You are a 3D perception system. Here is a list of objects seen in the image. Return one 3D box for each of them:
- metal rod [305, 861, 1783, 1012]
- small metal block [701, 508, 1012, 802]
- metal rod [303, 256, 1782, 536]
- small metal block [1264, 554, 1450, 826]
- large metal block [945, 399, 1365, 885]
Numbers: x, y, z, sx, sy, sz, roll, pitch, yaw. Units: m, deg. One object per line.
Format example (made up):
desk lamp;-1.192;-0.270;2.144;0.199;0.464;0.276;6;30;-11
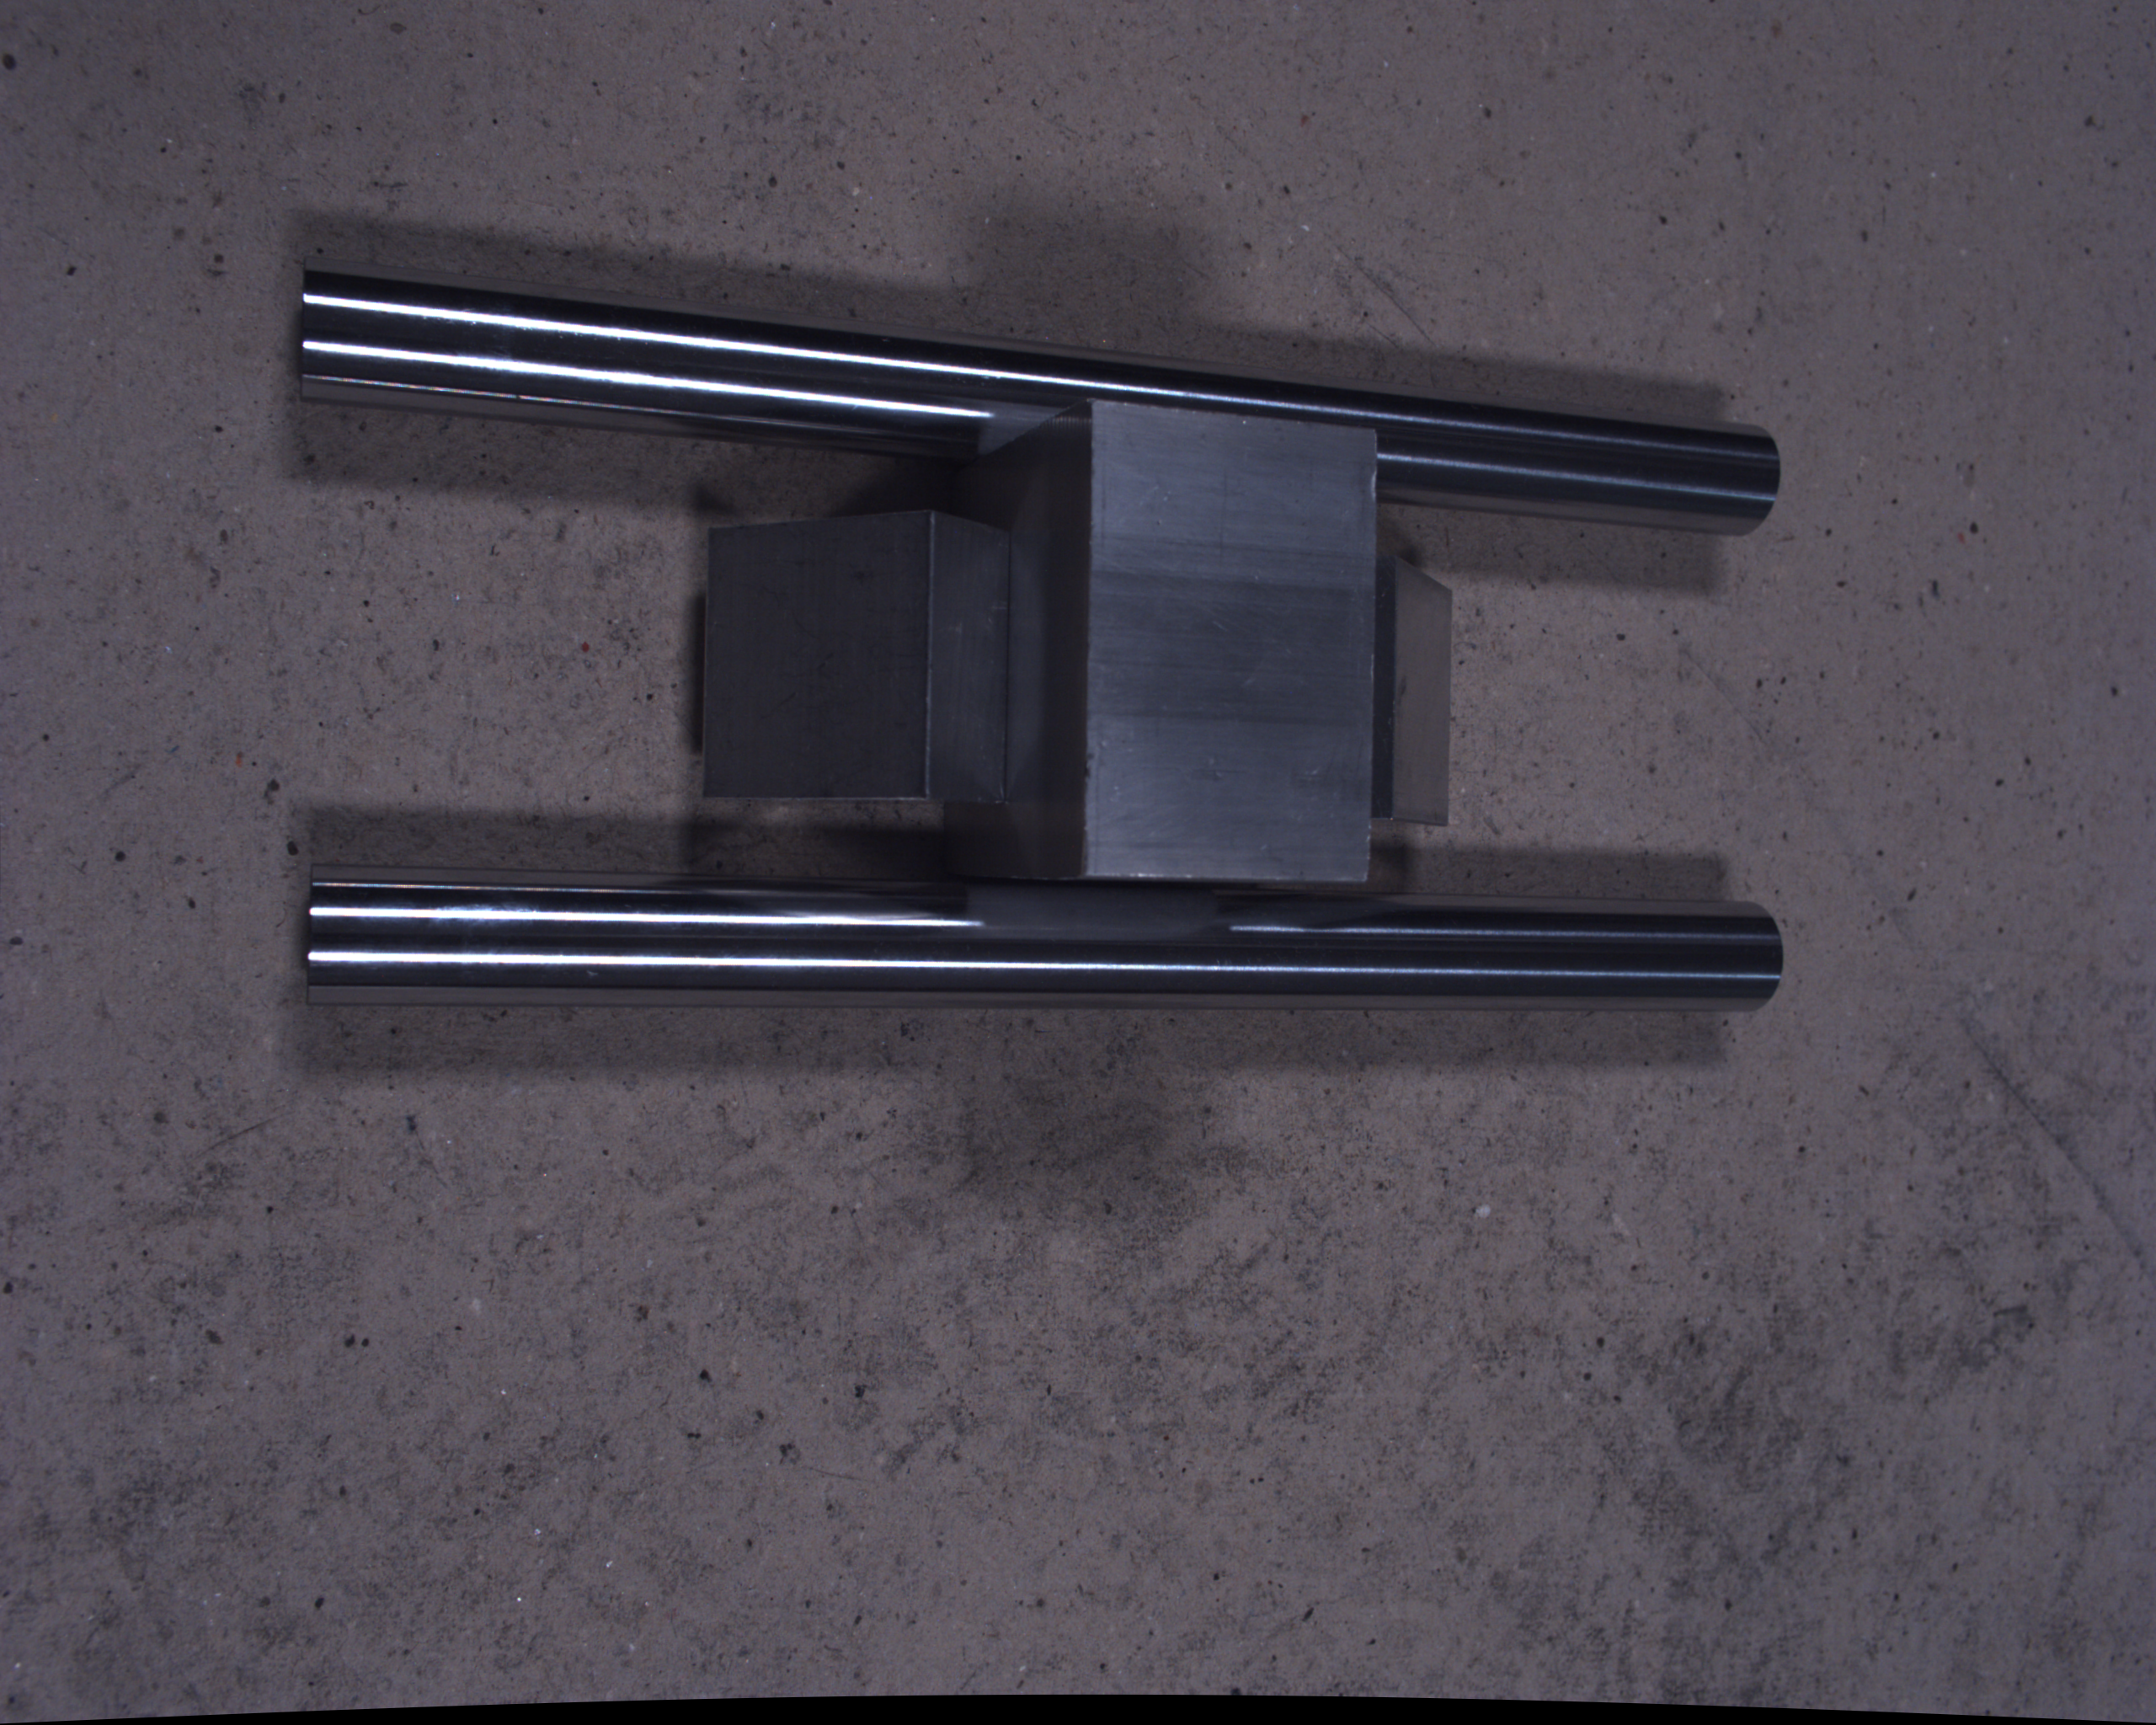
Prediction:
metal rod;0.008;0.017;0.414;0.303;0.025;0.025;2;90;-21
small metal block;-0.041;-0.036;0.381;0.025;0.050;0.050;1;90;-60
metal rod;0.008;-0.089;0.414;0.303;0.025;0.025;1;90;-21
small metal block;0.057;-0.033;0.418;0.025;0.050;0.050;0;89;21
large metal block;0.011;-0.036;0.388;0.050;0.080;0.079;1;90;-20
